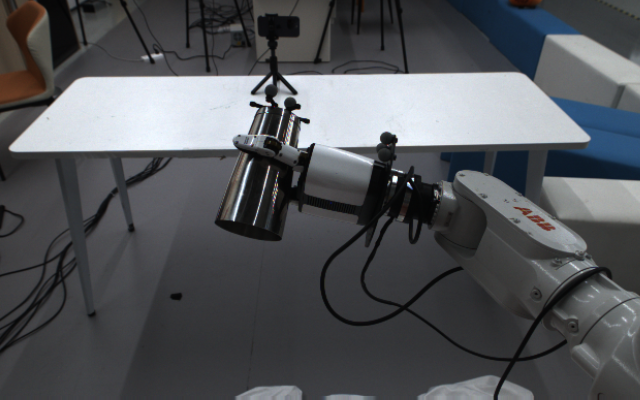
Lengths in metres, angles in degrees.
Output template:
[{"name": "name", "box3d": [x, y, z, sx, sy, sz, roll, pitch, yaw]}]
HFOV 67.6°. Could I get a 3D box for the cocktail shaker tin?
[{"name": "cocktail shaker tin", "box3d": [-0.078, -0.037, 0.663, 0.093, 0.093, 0.170, 10, 73, 12]}]
